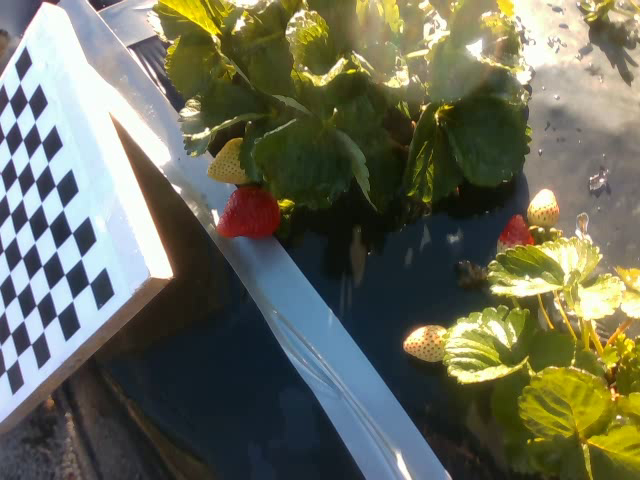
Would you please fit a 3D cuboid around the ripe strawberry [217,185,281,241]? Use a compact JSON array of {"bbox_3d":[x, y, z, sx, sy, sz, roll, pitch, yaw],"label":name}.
[{"bbox_3d":[-0.056,-0.018,0.441,0.045,0.049,0.063,-14,16,39],"label":"ripe strawberry"}]
